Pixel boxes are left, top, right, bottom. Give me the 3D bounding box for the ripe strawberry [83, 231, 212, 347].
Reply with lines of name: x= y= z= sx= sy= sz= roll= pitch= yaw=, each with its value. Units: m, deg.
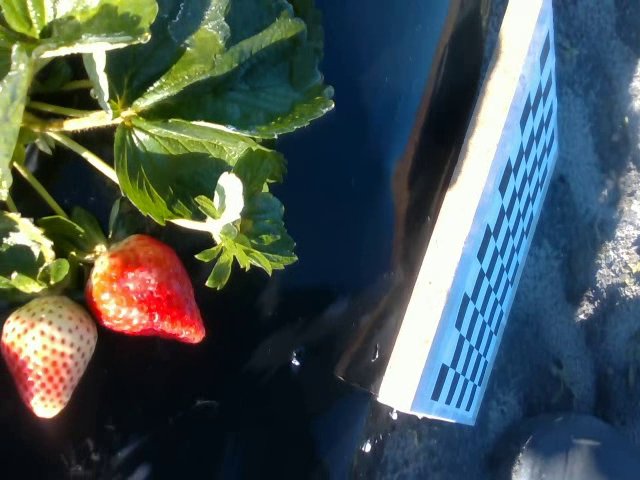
ripe strawberry: x=-0.058 y=0.023 z=0.225 sx=0.055 sy=0.040 sz=0.037 roll=43 pitch=19 yaw=17
